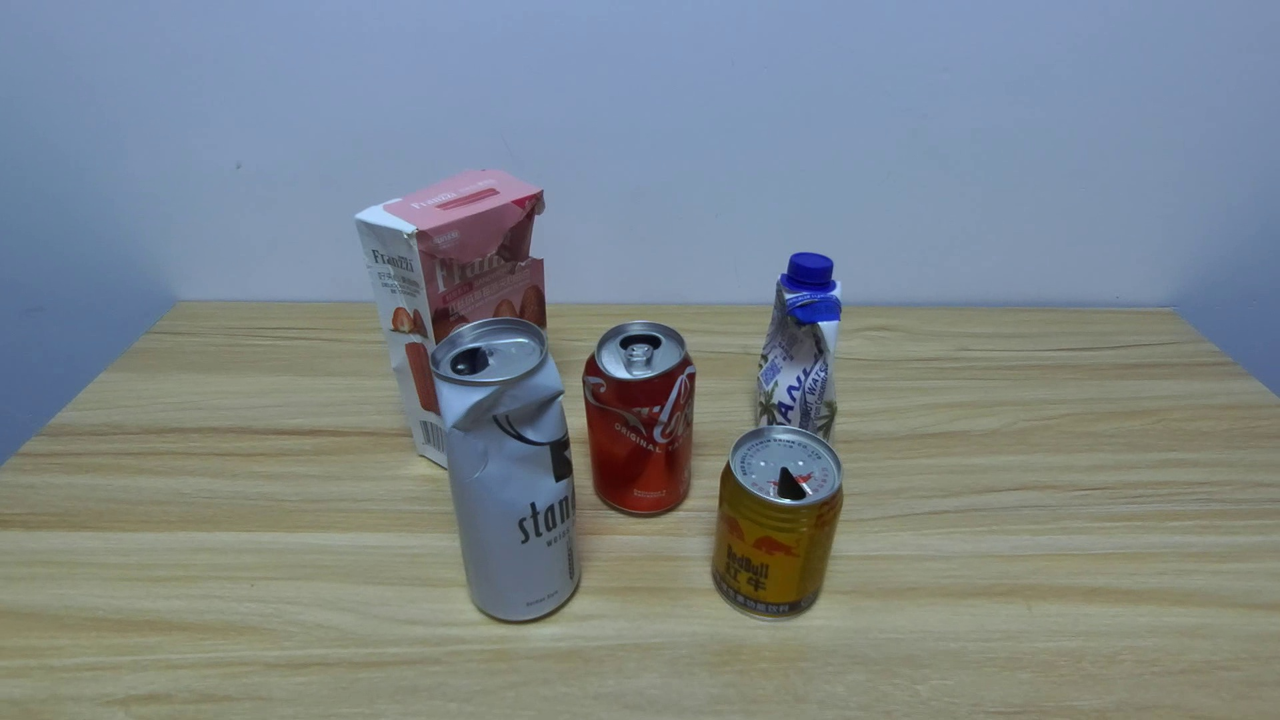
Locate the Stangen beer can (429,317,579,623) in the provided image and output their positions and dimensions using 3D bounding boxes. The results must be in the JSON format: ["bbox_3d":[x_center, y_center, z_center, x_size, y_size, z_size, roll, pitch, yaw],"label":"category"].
[{"bbox_3d":[-0.069,0.063,0.372,0.066,0.166,0.065,-17,37,-22],"label":"Stangen beer can"}]

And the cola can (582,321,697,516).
[{"bbox_3d":[0.004,0.038,0.450,0.066,0.117,0.072,-24,41,-33],"label":"cola can"}]

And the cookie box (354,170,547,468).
[{"bbox_3d":[-0.113,-0.022,0.474,0.059,0.186,0.105,25,41,29],"label":"cookie box"}]

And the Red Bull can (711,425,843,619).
[{"bbox_3d":[0.076,0.090,0.393,0.067,0.093,0.067,1,36,-1],"label":"Red Bull can"}]

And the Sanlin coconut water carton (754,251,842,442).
[{"bbox_3d":[0.107,0.002,0.480,0.056,0.145,0.068,2,42,14],"label":"Sanlin coconut water carton"}]
